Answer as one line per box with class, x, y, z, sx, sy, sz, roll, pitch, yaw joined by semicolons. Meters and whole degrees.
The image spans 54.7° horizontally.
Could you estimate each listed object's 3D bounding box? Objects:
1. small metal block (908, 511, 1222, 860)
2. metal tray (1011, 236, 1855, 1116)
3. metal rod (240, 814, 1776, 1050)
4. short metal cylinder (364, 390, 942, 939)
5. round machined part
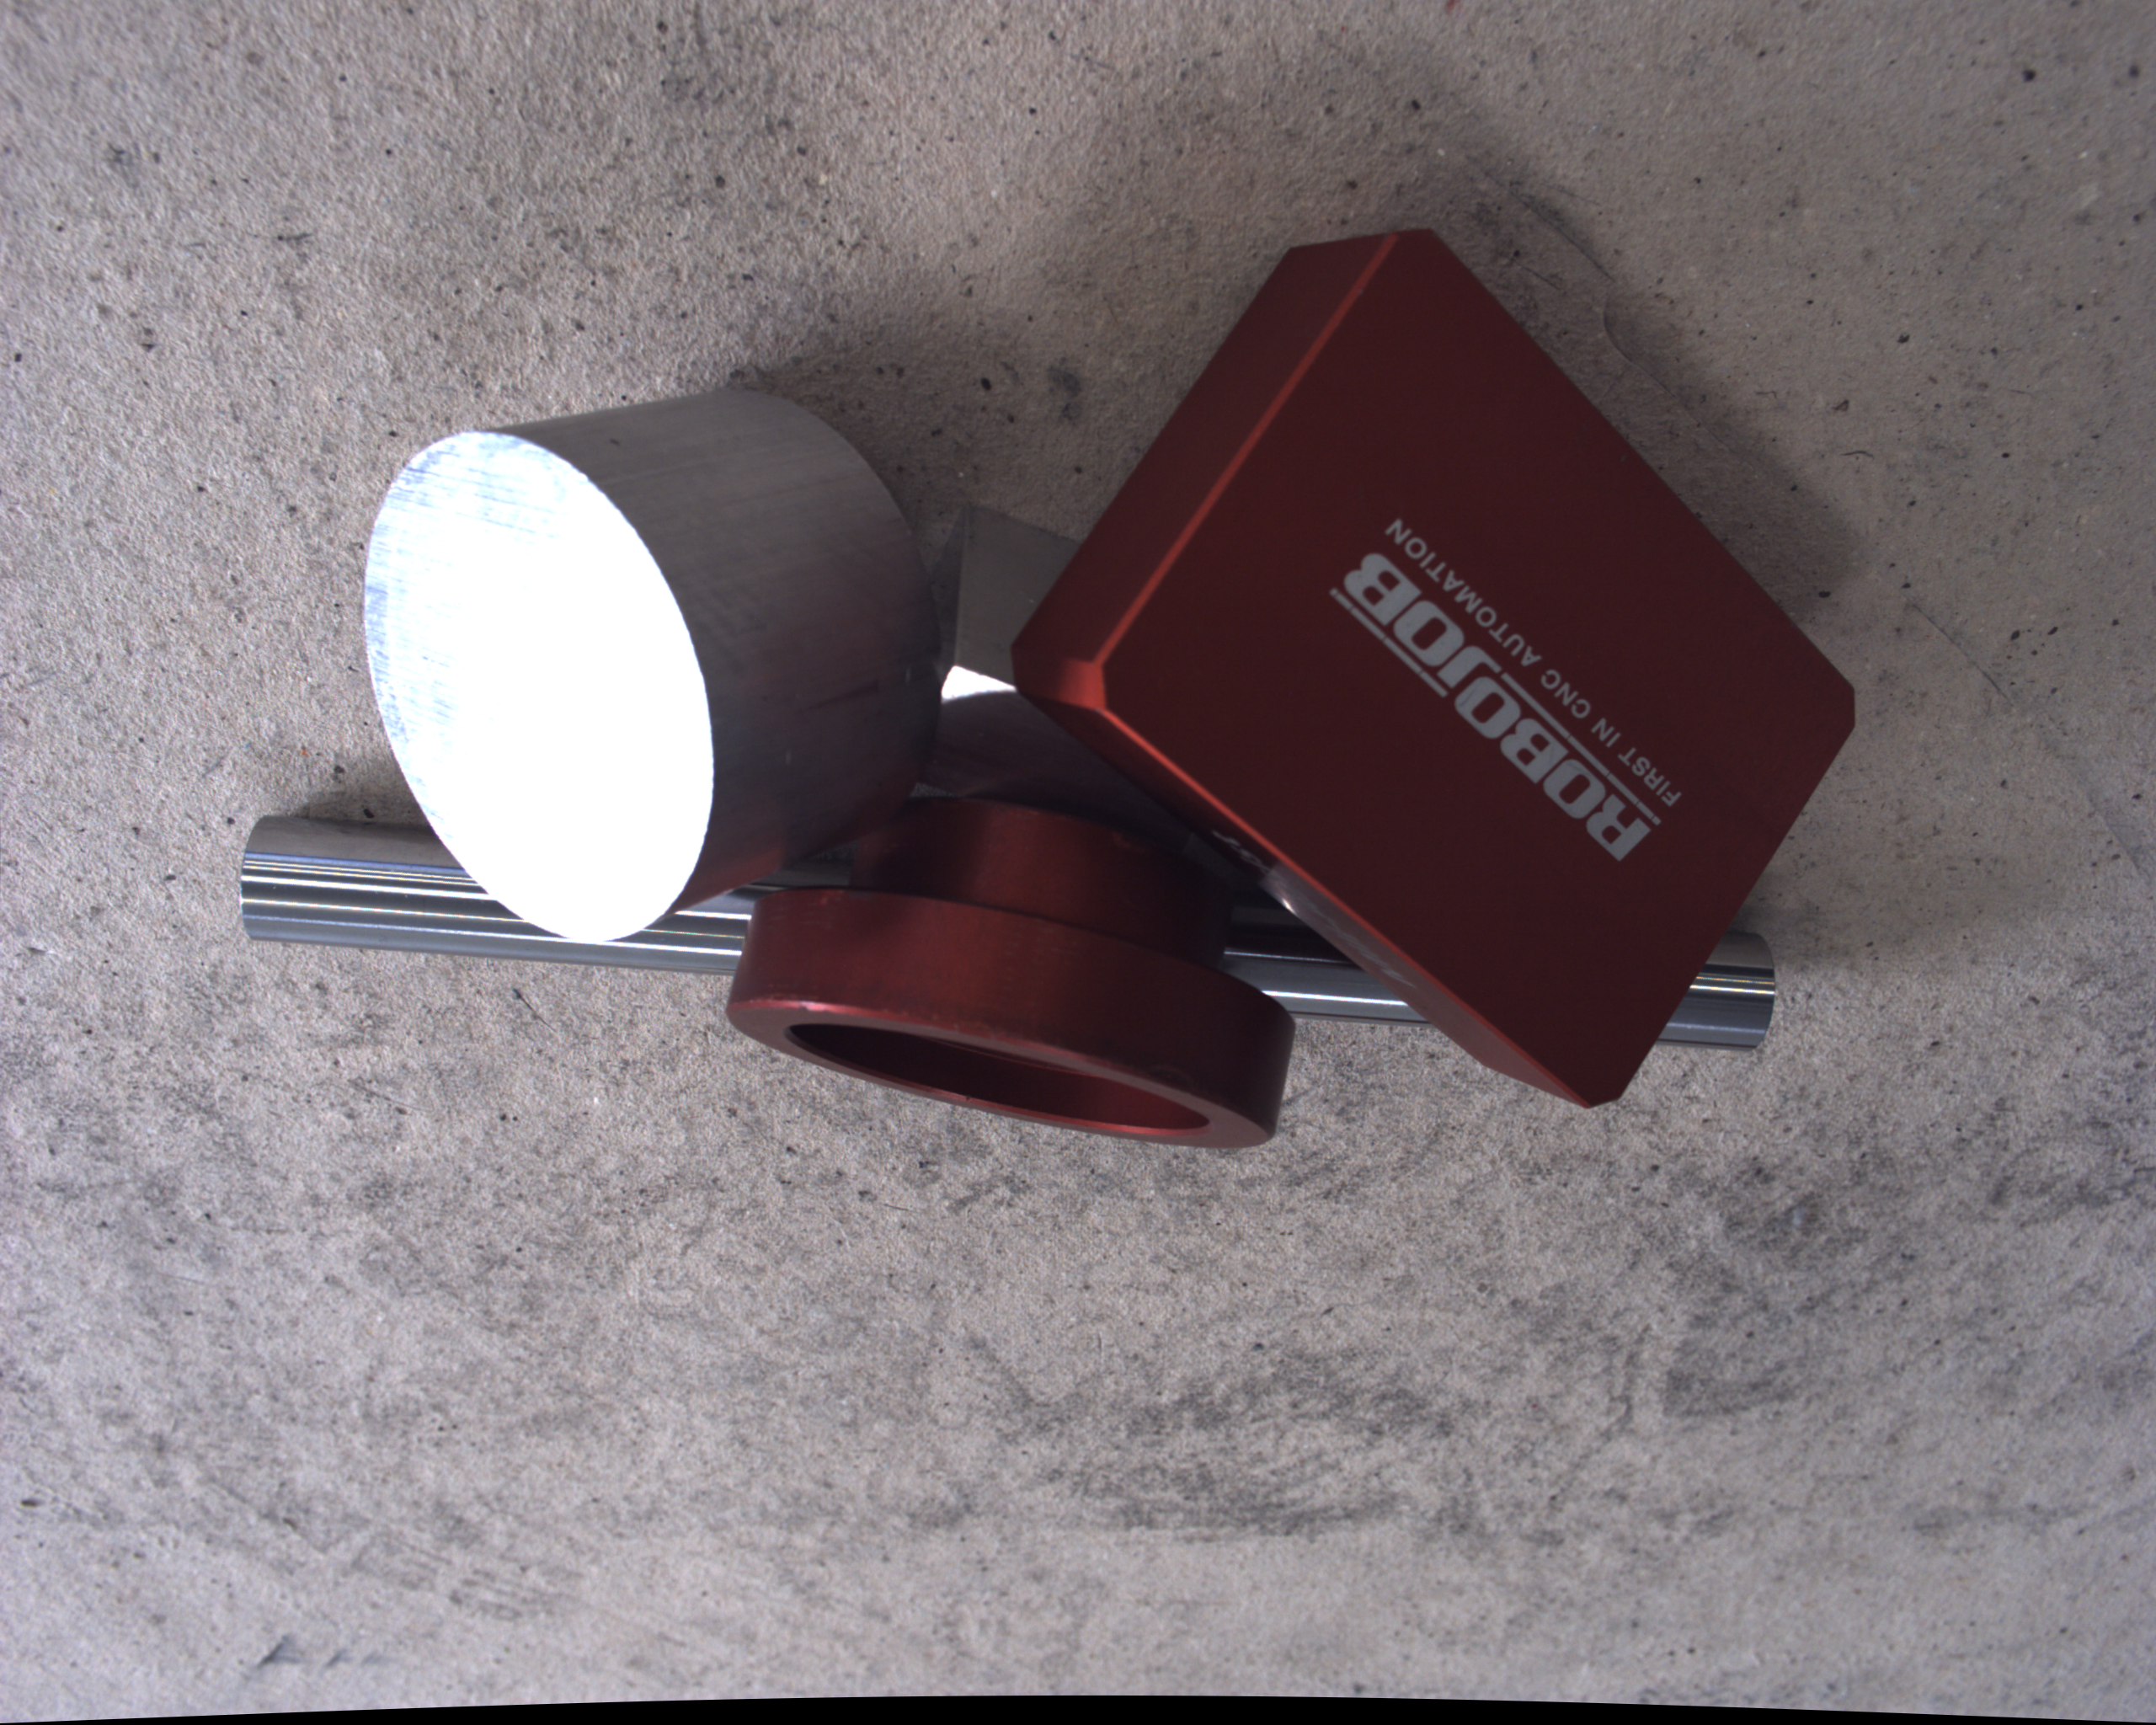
small metal block;-0.002;-0.030;0.365;0.050;0.050;0.025;18;128;-15
metal tray;0.064;-0.028;0.349;0.130;0.030;0.090;38;82;-28
metal rod;-0.010;0.015;0.421;0.302;0.025;0.025;5;130;-4
short metal cylinder;-0.069;-0.033;0.337;0.080;0.050;0.079;16;117;34
round machined part;-0.009;0.019;0.373;0.099;0.042;0.098;11;165;3
